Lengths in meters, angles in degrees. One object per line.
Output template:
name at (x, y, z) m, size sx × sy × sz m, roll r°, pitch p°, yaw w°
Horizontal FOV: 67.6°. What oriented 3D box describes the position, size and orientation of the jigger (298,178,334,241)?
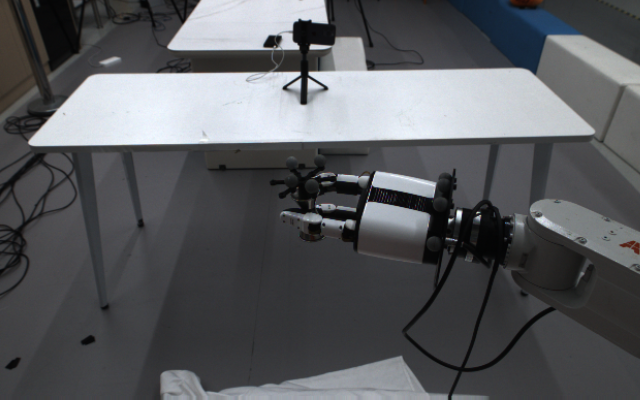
jigger at (-0.013, 0.015, 0.664) m, size 0.043 × 0.071 × 0.043 m, roll -9°, pitch 31°, yaw 5°
